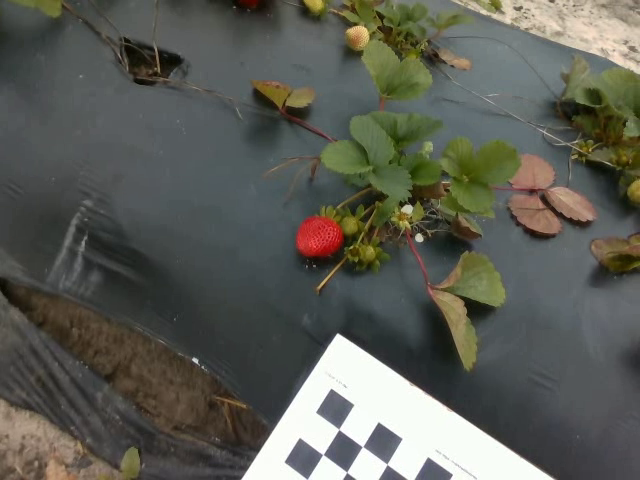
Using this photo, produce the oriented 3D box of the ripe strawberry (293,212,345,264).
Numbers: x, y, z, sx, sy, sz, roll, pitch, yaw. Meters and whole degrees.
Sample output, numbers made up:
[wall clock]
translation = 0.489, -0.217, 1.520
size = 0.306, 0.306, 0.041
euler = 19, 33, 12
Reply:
[ripe strawberry]
translation = -0.001, -0.001, 0.168
size = 0.017, 0.018, 0.014
euler = -44, -9, -49
